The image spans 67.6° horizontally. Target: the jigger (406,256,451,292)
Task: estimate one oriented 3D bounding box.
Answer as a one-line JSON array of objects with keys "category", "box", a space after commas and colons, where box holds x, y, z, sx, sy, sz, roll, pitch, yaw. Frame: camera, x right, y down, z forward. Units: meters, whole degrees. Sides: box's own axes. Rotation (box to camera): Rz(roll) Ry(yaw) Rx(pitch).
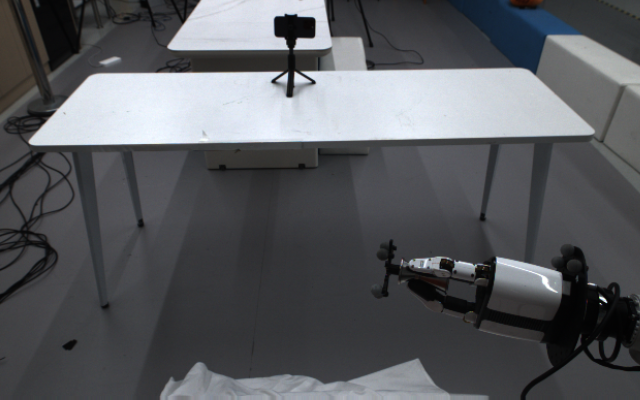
[{"category": "jigger", "box": [0.154, 0.102, 0.686, 0.071, 0.043, 0.043, 8, 35, 13]}]
